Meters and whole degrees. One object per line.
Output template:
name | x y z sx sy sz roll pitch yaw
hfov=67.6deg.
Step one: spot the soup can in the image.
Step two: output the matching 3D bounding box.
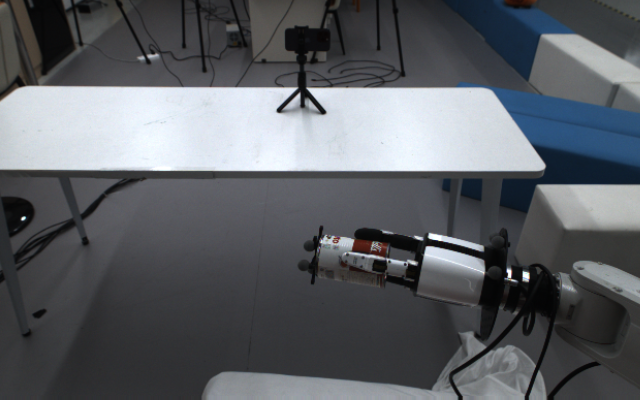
soup can | 0.052 0.089 0.718 0.101 0.067 0.067 6 35 11
